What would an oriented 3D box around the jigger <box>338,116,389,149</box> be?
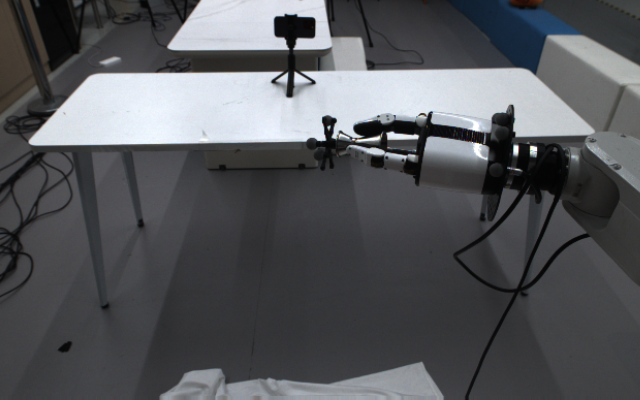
[{"bbox_3d":[0.068,-0.087,0.709,0.071,0.043,0.043,4,33,20],"label":"jigger"}]
